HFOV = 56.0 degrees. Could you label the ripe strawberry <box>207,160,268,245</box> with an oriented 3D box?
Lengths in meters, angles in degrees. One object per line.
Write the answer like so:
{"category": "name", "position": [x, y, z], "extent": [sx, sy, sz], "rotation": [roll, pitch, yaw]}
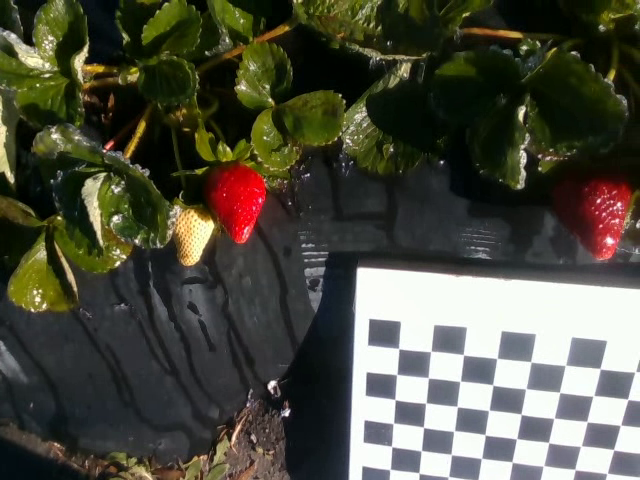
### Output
{"category": "ripe strawberry", "position": [-0.055, -0.021, 0.410], "extent": [0.042, 0.061, 0.046], "rotation": [-9, -20, 14]}

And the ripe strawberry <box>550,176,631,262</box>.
{"category": "ripe strawberry", "position": [0.169, -0.013, 0.367], "extent": [0.048, 0.061, 0.044], "rotation": [-2, -9, 11]}
